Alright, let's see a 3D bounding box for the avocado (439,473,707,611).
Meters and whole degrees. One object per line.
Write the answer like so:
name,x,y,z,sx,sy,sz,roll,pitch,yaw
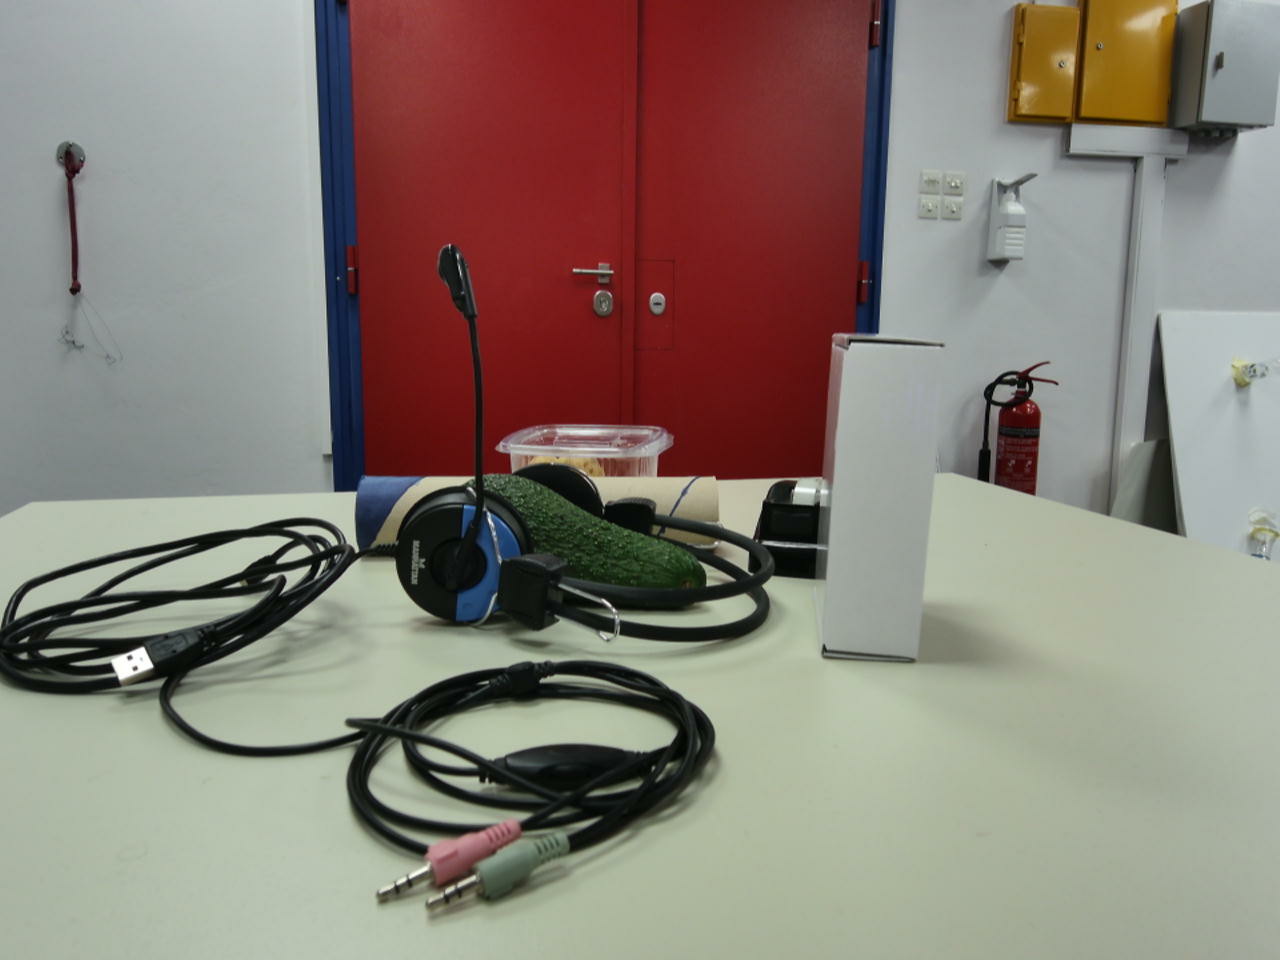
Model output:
avocado,-0.035,0.030,0.518,0.141,0.067,0.063,0,6,2
